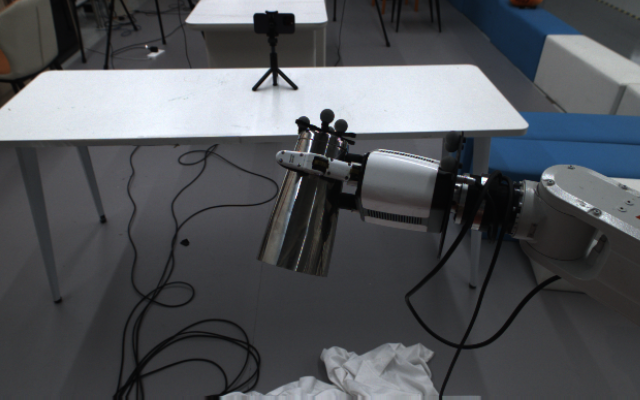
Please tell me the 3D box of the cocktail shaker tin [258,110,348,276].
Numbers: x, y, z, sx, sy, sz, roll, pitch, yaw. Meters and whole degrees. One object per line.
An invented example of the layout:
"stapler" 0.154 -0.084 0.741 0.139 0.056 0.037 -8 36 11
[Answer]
"cocktail shaker tin" -0.013 0.001 0.616 0.093 0.170 0.093 15 -5 1
